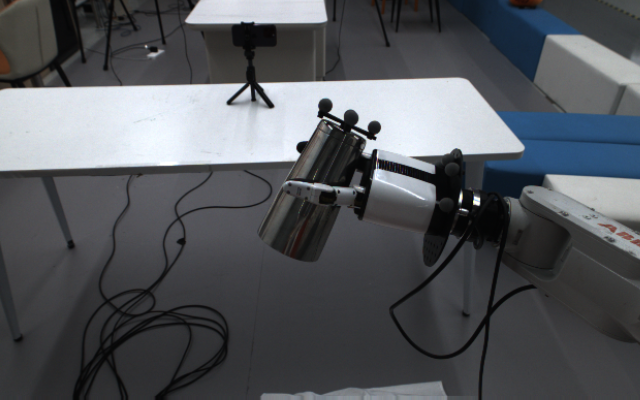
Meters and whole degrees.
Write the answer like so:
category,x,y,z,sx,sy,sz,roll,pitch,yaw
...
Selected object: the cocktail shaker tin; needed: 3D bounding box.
category,x,y,z,sx,sy,sz,roll,pitch,yaw
cocktail shaker tin,-0.004,-0.017,0.636,0.093,0.170,0.093,24,12,-6
